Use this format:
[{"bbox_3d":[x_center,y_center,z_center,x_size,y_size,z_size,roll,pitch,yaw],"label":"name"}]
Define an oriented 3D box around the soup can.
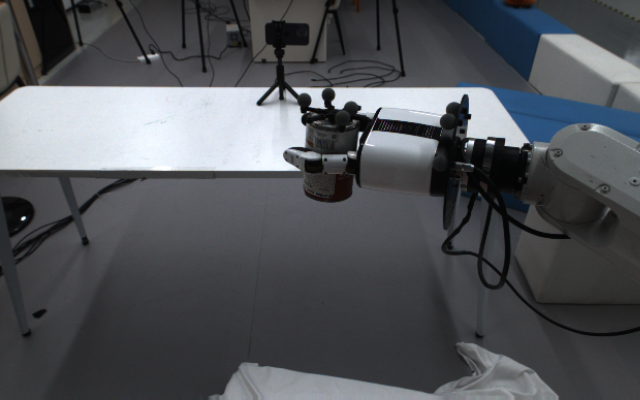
[{"bbox_3d":[0.014,-0.057,0.619,0.067,0.101,0.067,3,30,-2],"label":"soup can"}]
